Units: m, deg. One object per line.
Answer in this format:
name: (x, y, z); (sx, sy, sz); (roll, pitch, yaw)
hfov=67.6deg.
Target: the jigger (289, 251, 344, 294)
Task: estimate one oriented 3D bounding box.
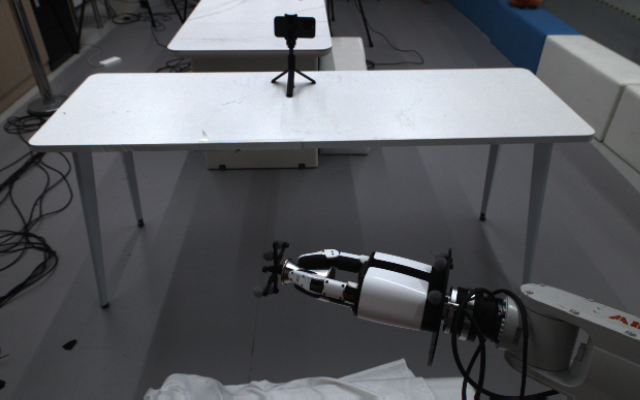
jigger: (-0.011, 0.105, 0.689); (0.071, 0.043, 0.043); (10, 35, 16)
